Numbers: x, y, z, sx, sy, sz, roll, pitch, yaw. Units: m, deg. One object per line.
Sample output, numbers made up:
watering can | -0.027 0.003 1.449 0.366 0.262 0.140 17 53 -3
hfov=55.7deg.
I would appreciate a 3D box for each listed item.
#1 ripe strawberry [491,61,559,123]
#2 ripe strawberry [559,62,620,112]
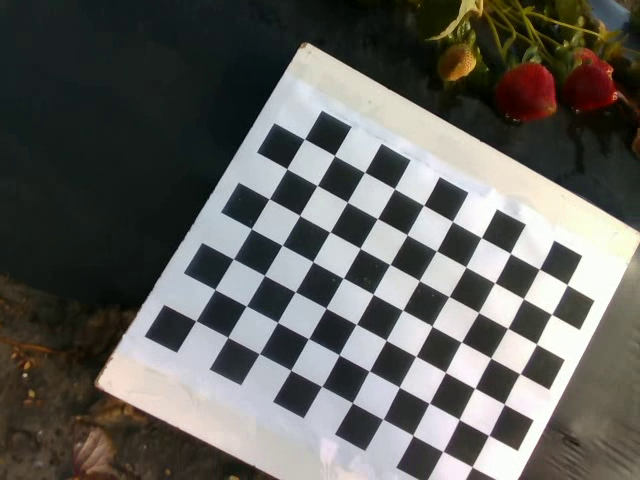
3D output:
ripe strawberry | 0.166 -0.115 0.468 0.050 0.050 0.065 -10 31 -6
ripe strawberry | 0.235 -0.126 0.518 0.044 0.042 0.055 -34 38 -8
